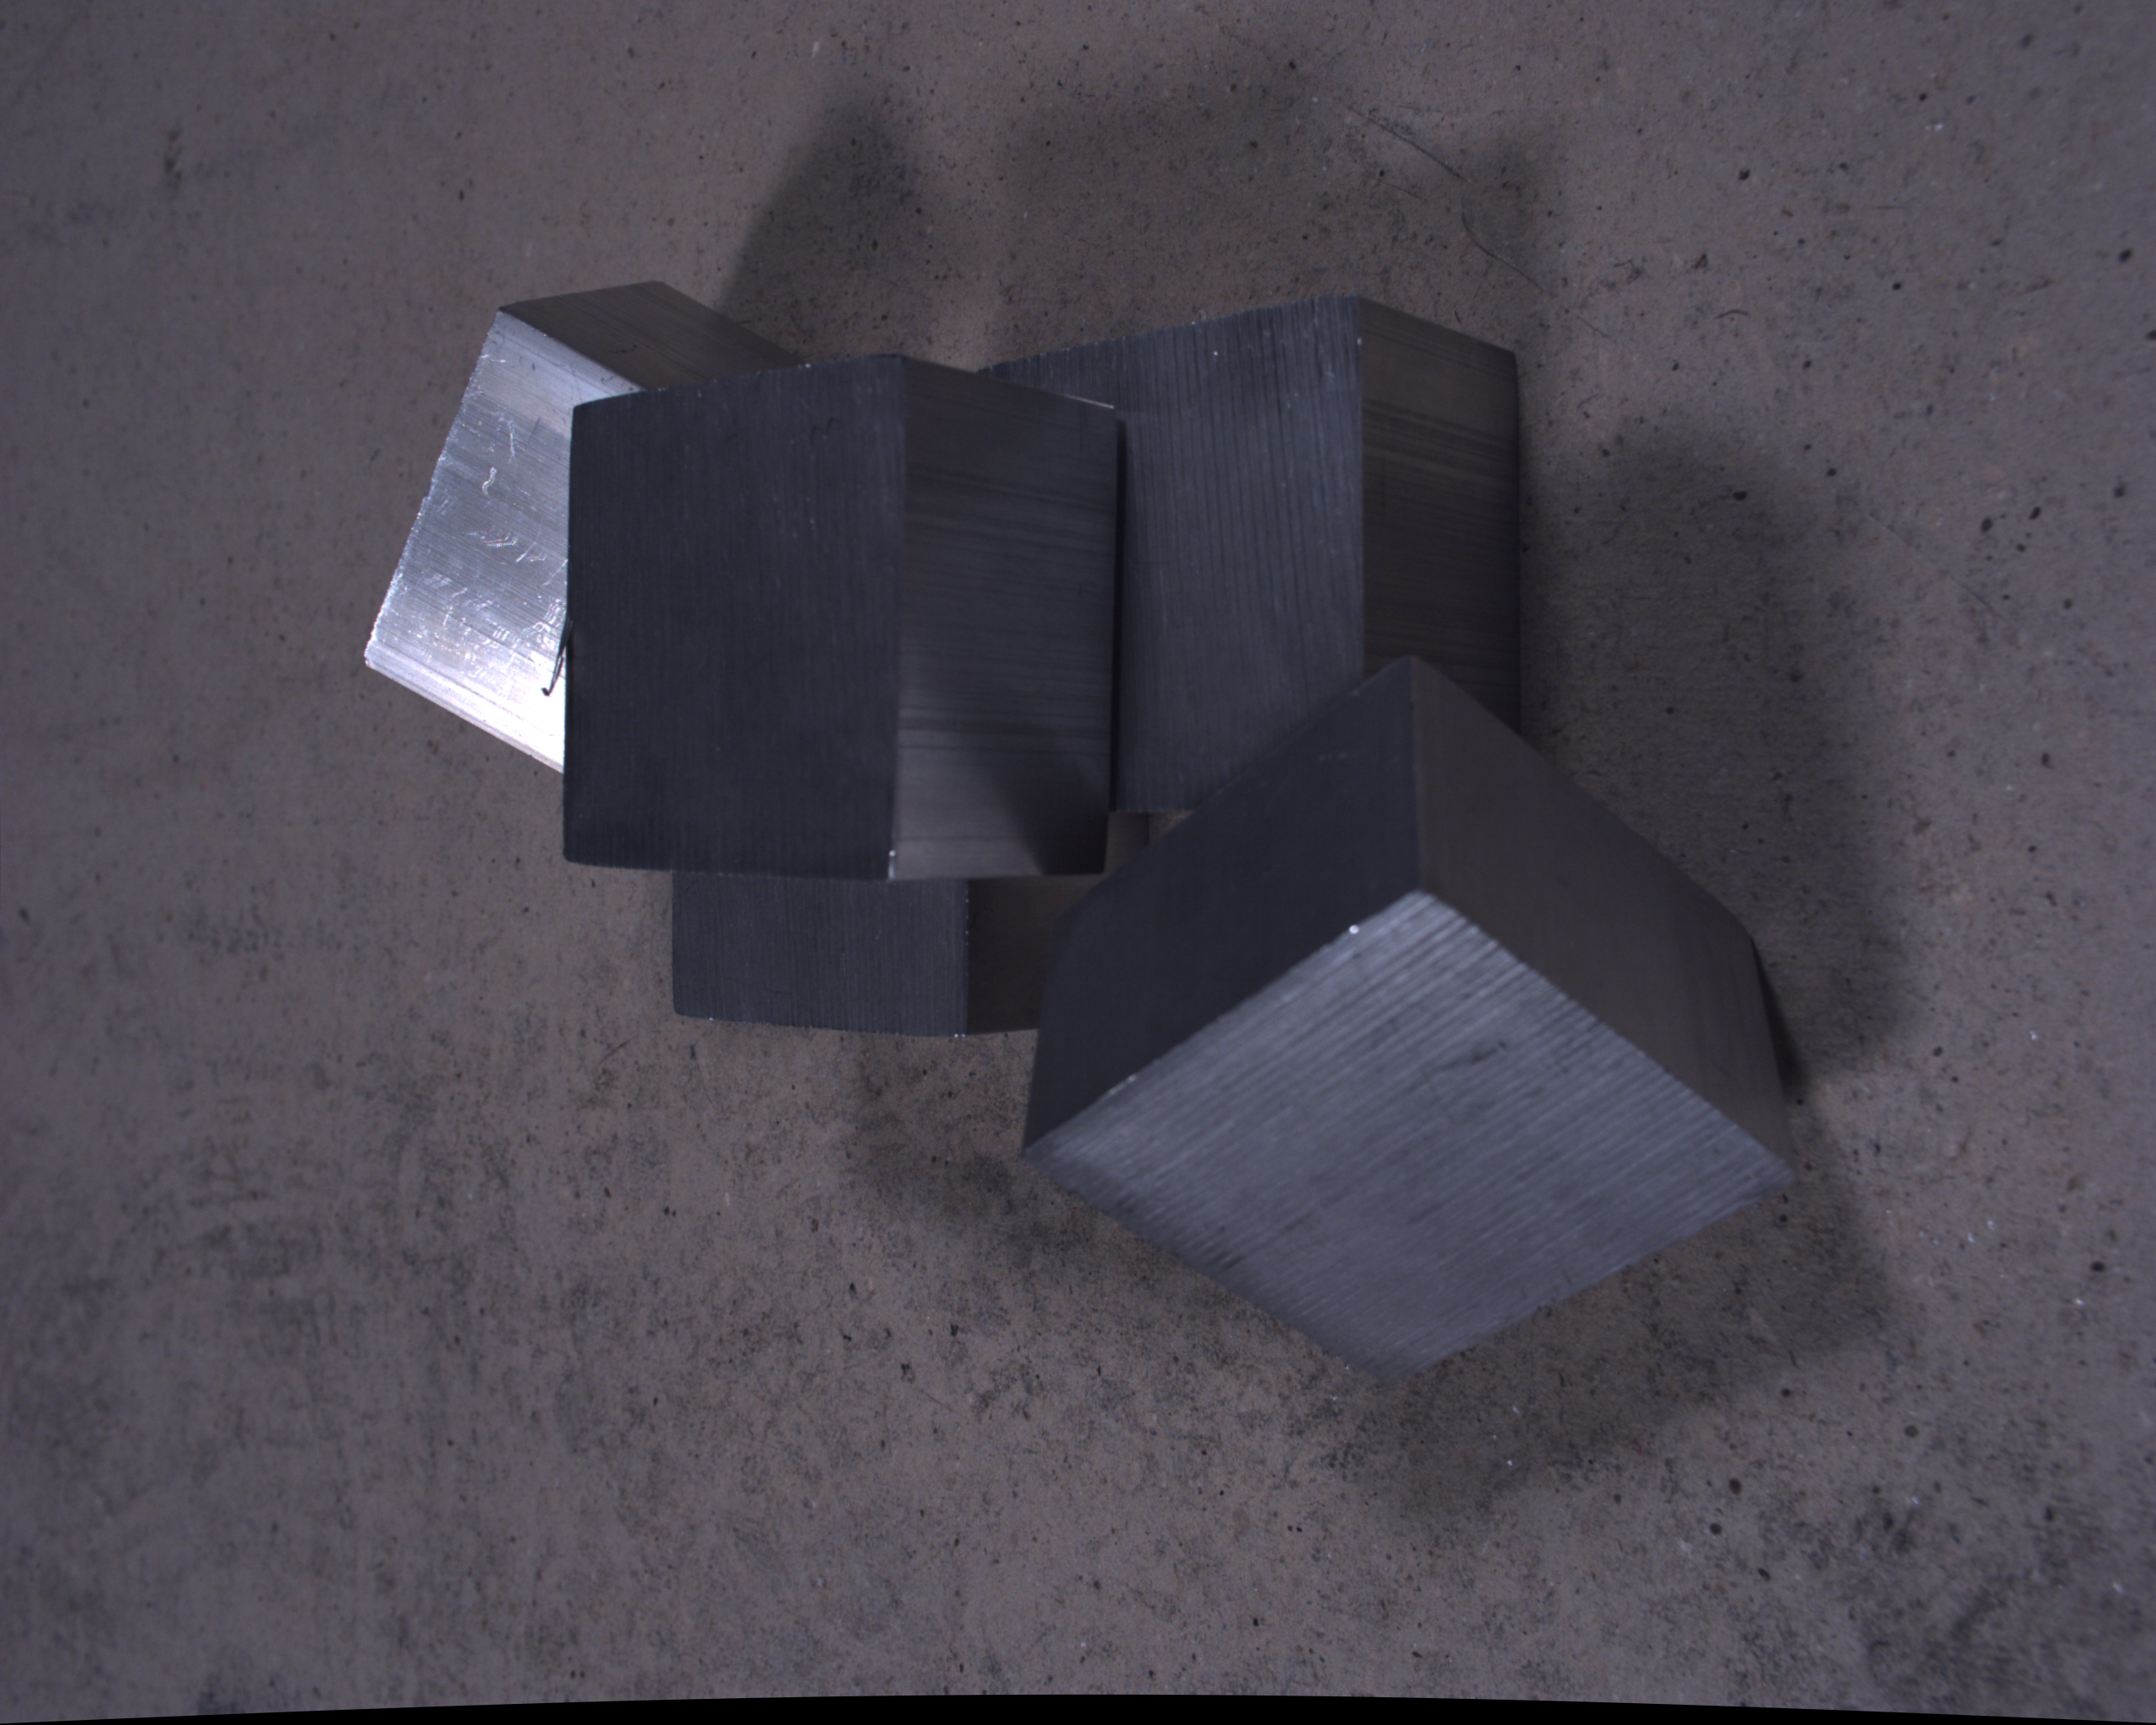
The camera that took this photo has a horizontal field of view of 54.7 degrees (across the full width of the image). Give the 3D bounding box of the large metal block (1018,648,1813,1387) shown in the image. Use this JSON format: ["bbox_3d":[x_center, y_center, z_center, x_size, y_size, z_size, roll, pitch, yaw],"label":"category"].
[{"bbox_3d":[0.050,0.027,0.320,0.080,0.080,0.050,-38,29,33],"label":"large metal block"}]

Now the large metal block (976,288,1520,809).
[{"bbox_3d":[0.029,-0.049,0.365,0.080,0.050,0.079,0,90,39],"label":"large metal block"}]

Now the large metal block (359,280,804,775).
[{"bbox_3d":[-0.095,-0.072,0.438,0.050,0.080,0.080,29,112,1],"label":"large metal block"}]

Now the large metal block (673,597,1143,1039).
[{"bbox_3d":[-0.034,-0.009,0.414,0.080,0.050,0.079,0,90,39],"label":"large metal block"}]

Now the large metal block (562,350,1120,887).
[{"bbox_3d":[-0.041,-0.038,0.354,0.080,0.050,0.079,3,92,39],"label":"large metal block"}]
